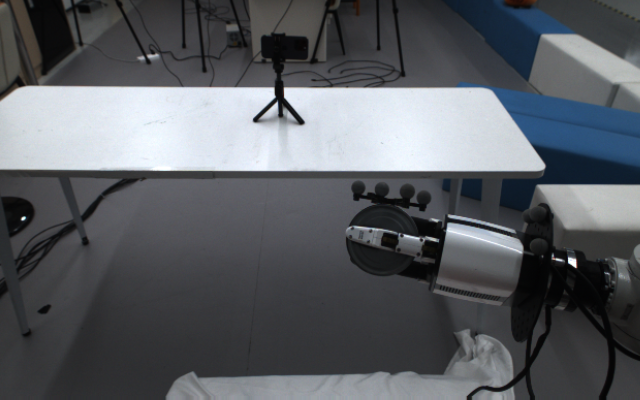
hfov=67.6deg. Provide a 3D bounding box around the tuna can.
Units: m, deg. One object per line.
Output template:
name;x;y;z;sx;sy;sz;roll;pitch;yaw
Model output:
tuna can;0.078;0.044;0.582;0.085;0.085;0.034;10;-6;12
